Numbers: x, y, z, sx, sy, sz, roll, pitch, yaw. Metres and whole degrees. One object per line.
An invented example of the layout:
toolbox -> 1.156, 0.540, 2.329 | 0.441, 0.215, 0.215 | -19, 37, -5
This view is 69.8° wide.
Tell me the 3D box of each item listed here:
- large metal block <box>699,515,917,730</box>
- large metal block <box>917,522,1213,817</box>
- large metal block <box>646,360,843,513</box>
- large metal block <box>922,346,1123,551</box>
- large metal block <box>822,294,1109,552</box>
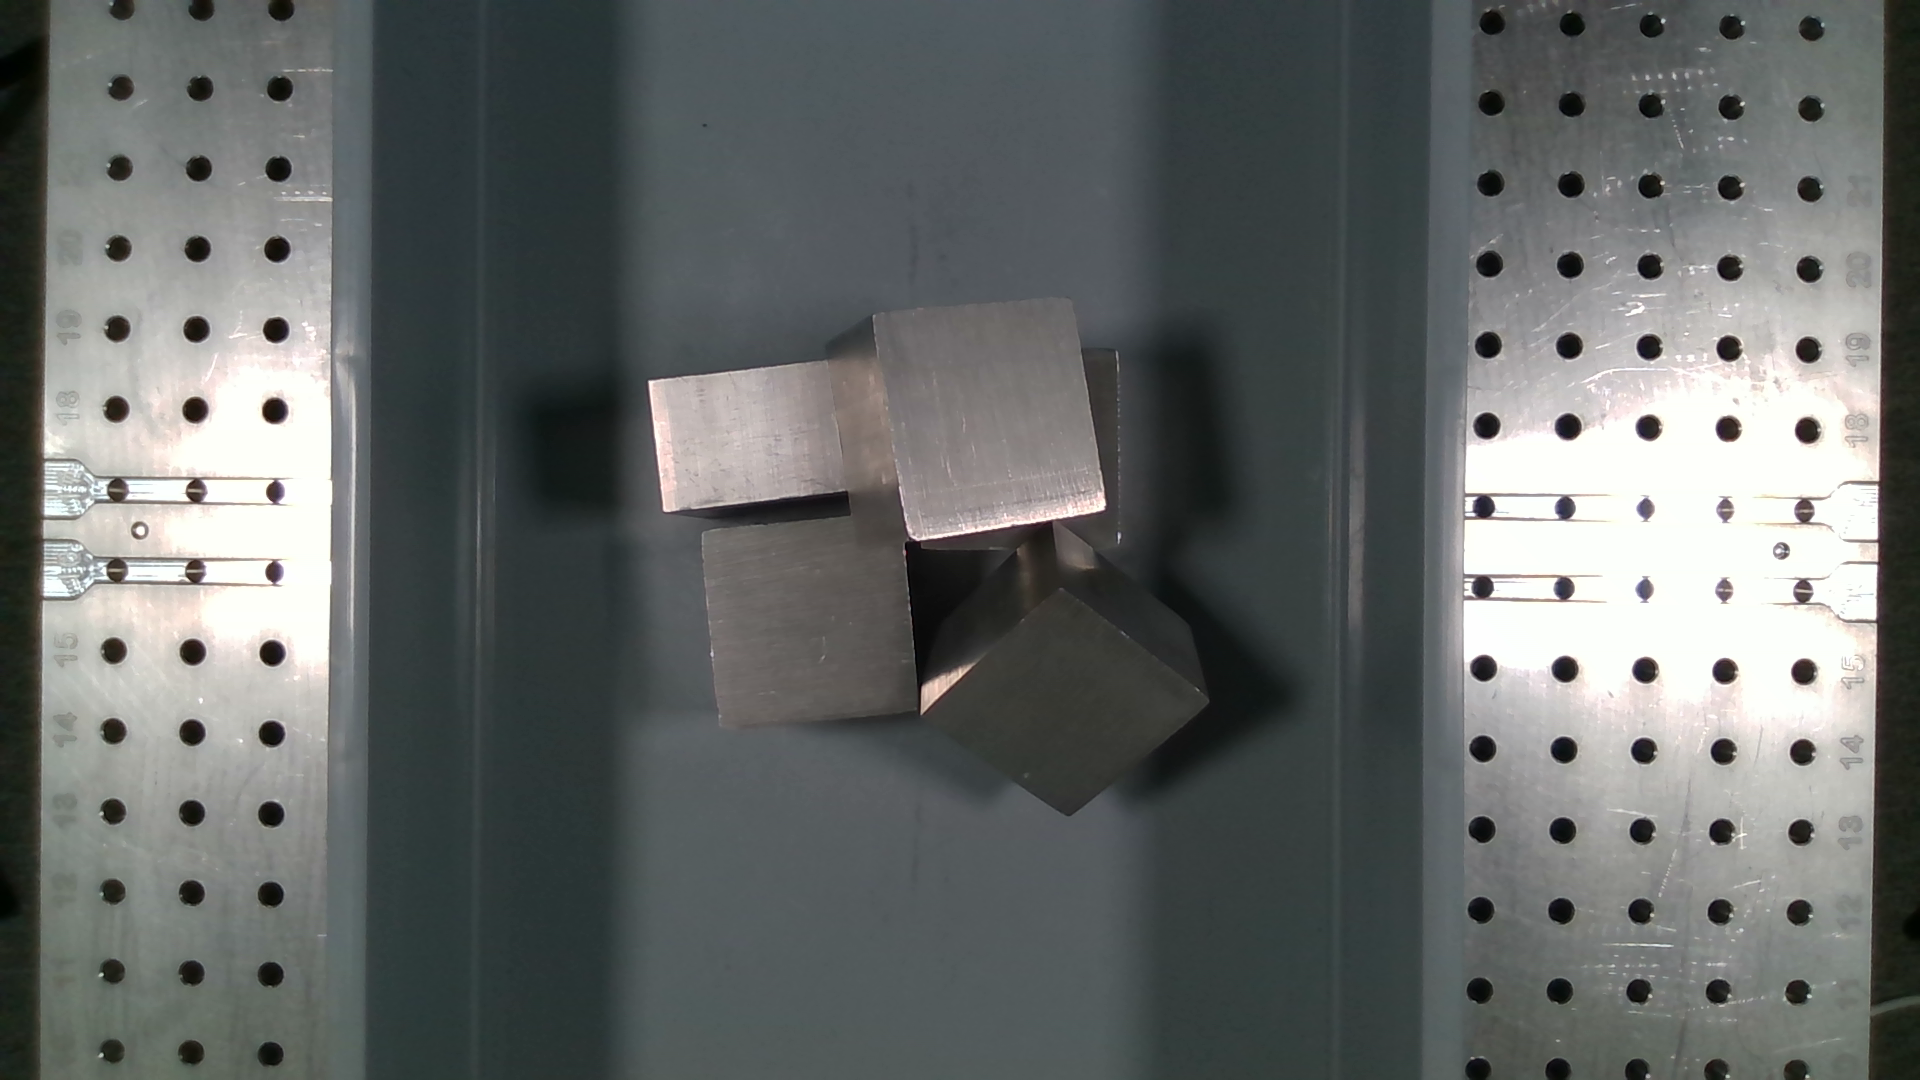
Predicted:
large metal block -> -0.060, 0.032, 0.571 | 0.080, 0.050, 0.080 | -6, 90, 0
large metal block -> 0.040, 0.051, 0.548 | 0.080, 0.050, 0.080 | 36, 115, -21
large metal block -> -0.076, -0.040, 0.558 | 0.080, 0.080, 0.050 | -7, 90, 0
large metal block -> 0.024, -0.037, 0.573 | 0.080, 0.050, 0.080 | -1, 90, 0
large metal block -> 0.001, -0.043, 0.508 | 0.080, 0.050, 0.080 | -10, 90, -25
